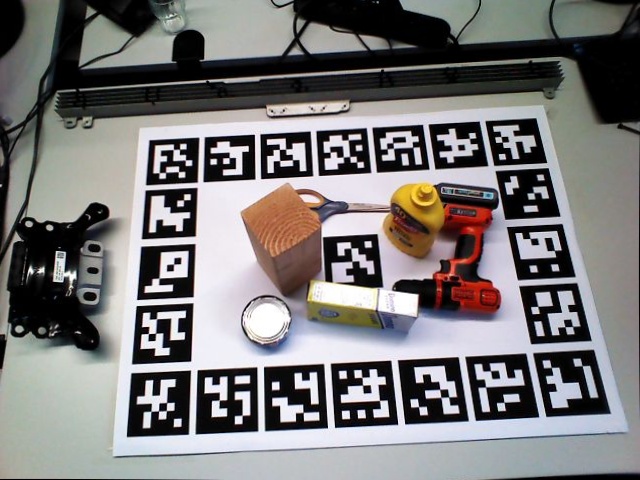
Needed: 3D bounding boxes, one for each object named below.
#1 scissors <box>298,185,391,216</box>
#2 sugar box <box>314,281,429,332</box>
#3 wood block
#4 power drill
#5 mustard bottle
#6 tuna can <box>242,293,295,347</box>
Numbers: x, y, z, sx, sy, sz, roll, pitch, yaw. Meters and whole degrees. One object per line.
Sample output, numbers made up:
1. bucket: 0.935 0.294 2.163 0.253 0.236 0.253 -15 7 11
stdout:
1. scissors: 0.027 -0.063 0.942 0.203 0.016 0.087 -1 66 1
2. sugar box: 0.080 0.109 0.839 0.177 0.093 0.045 9 67 3
3. wood block: -0.050 0.005 0.829 0.091 0.207 0.090 -30 73 -10
4. power drill: 0.219 0.026 0.883 0.185 0.057 0.186 10 77 5
5. mustard bottle: 0.168 -0.040 0.846 0.058 0.192 0.096 -42 75 -12
6. tuna can: -0.085 0.133 0.860 0.086 0.034 0.085 0 71 0
